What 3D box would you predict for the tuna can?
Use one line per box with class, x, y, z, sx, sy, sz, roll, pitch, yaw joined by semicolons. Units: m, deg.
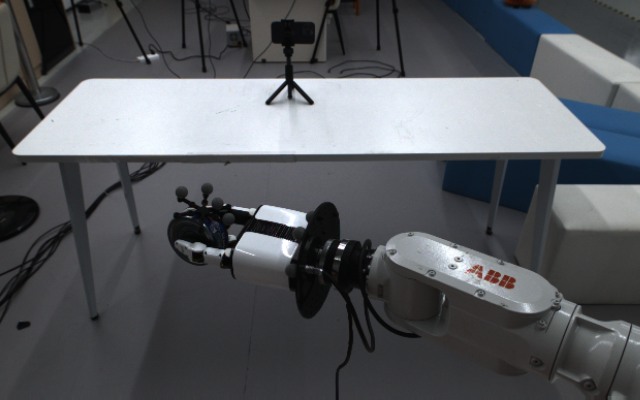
tuna can;-0.178;0.054;0.709;0.085;0.085;0.034;15;31;18
